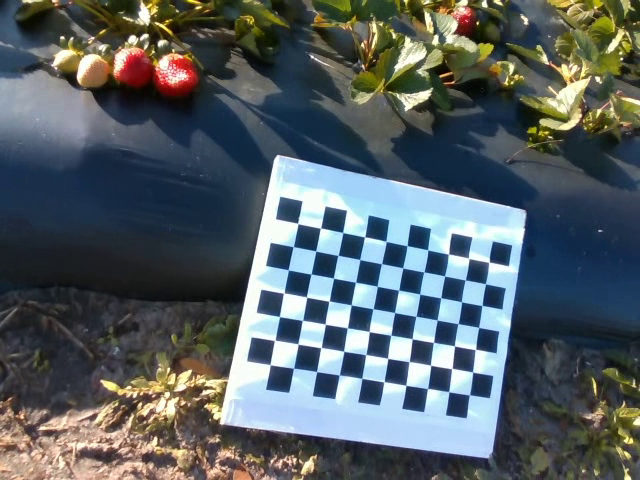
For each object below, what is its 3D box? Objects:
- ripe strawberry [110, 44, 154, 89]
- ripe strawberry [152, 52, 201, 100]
[{"bbox_3d":[-0.206,-0.183,0.585,0.050,0.044,0.061,36,35,-9],"label":"ripe strawberry"},{"bbox_3d":[-0.152,-0.175,0.590,0.056,0.052,0.067,-40,41,-12],"label":"ripe strawberry"}]
